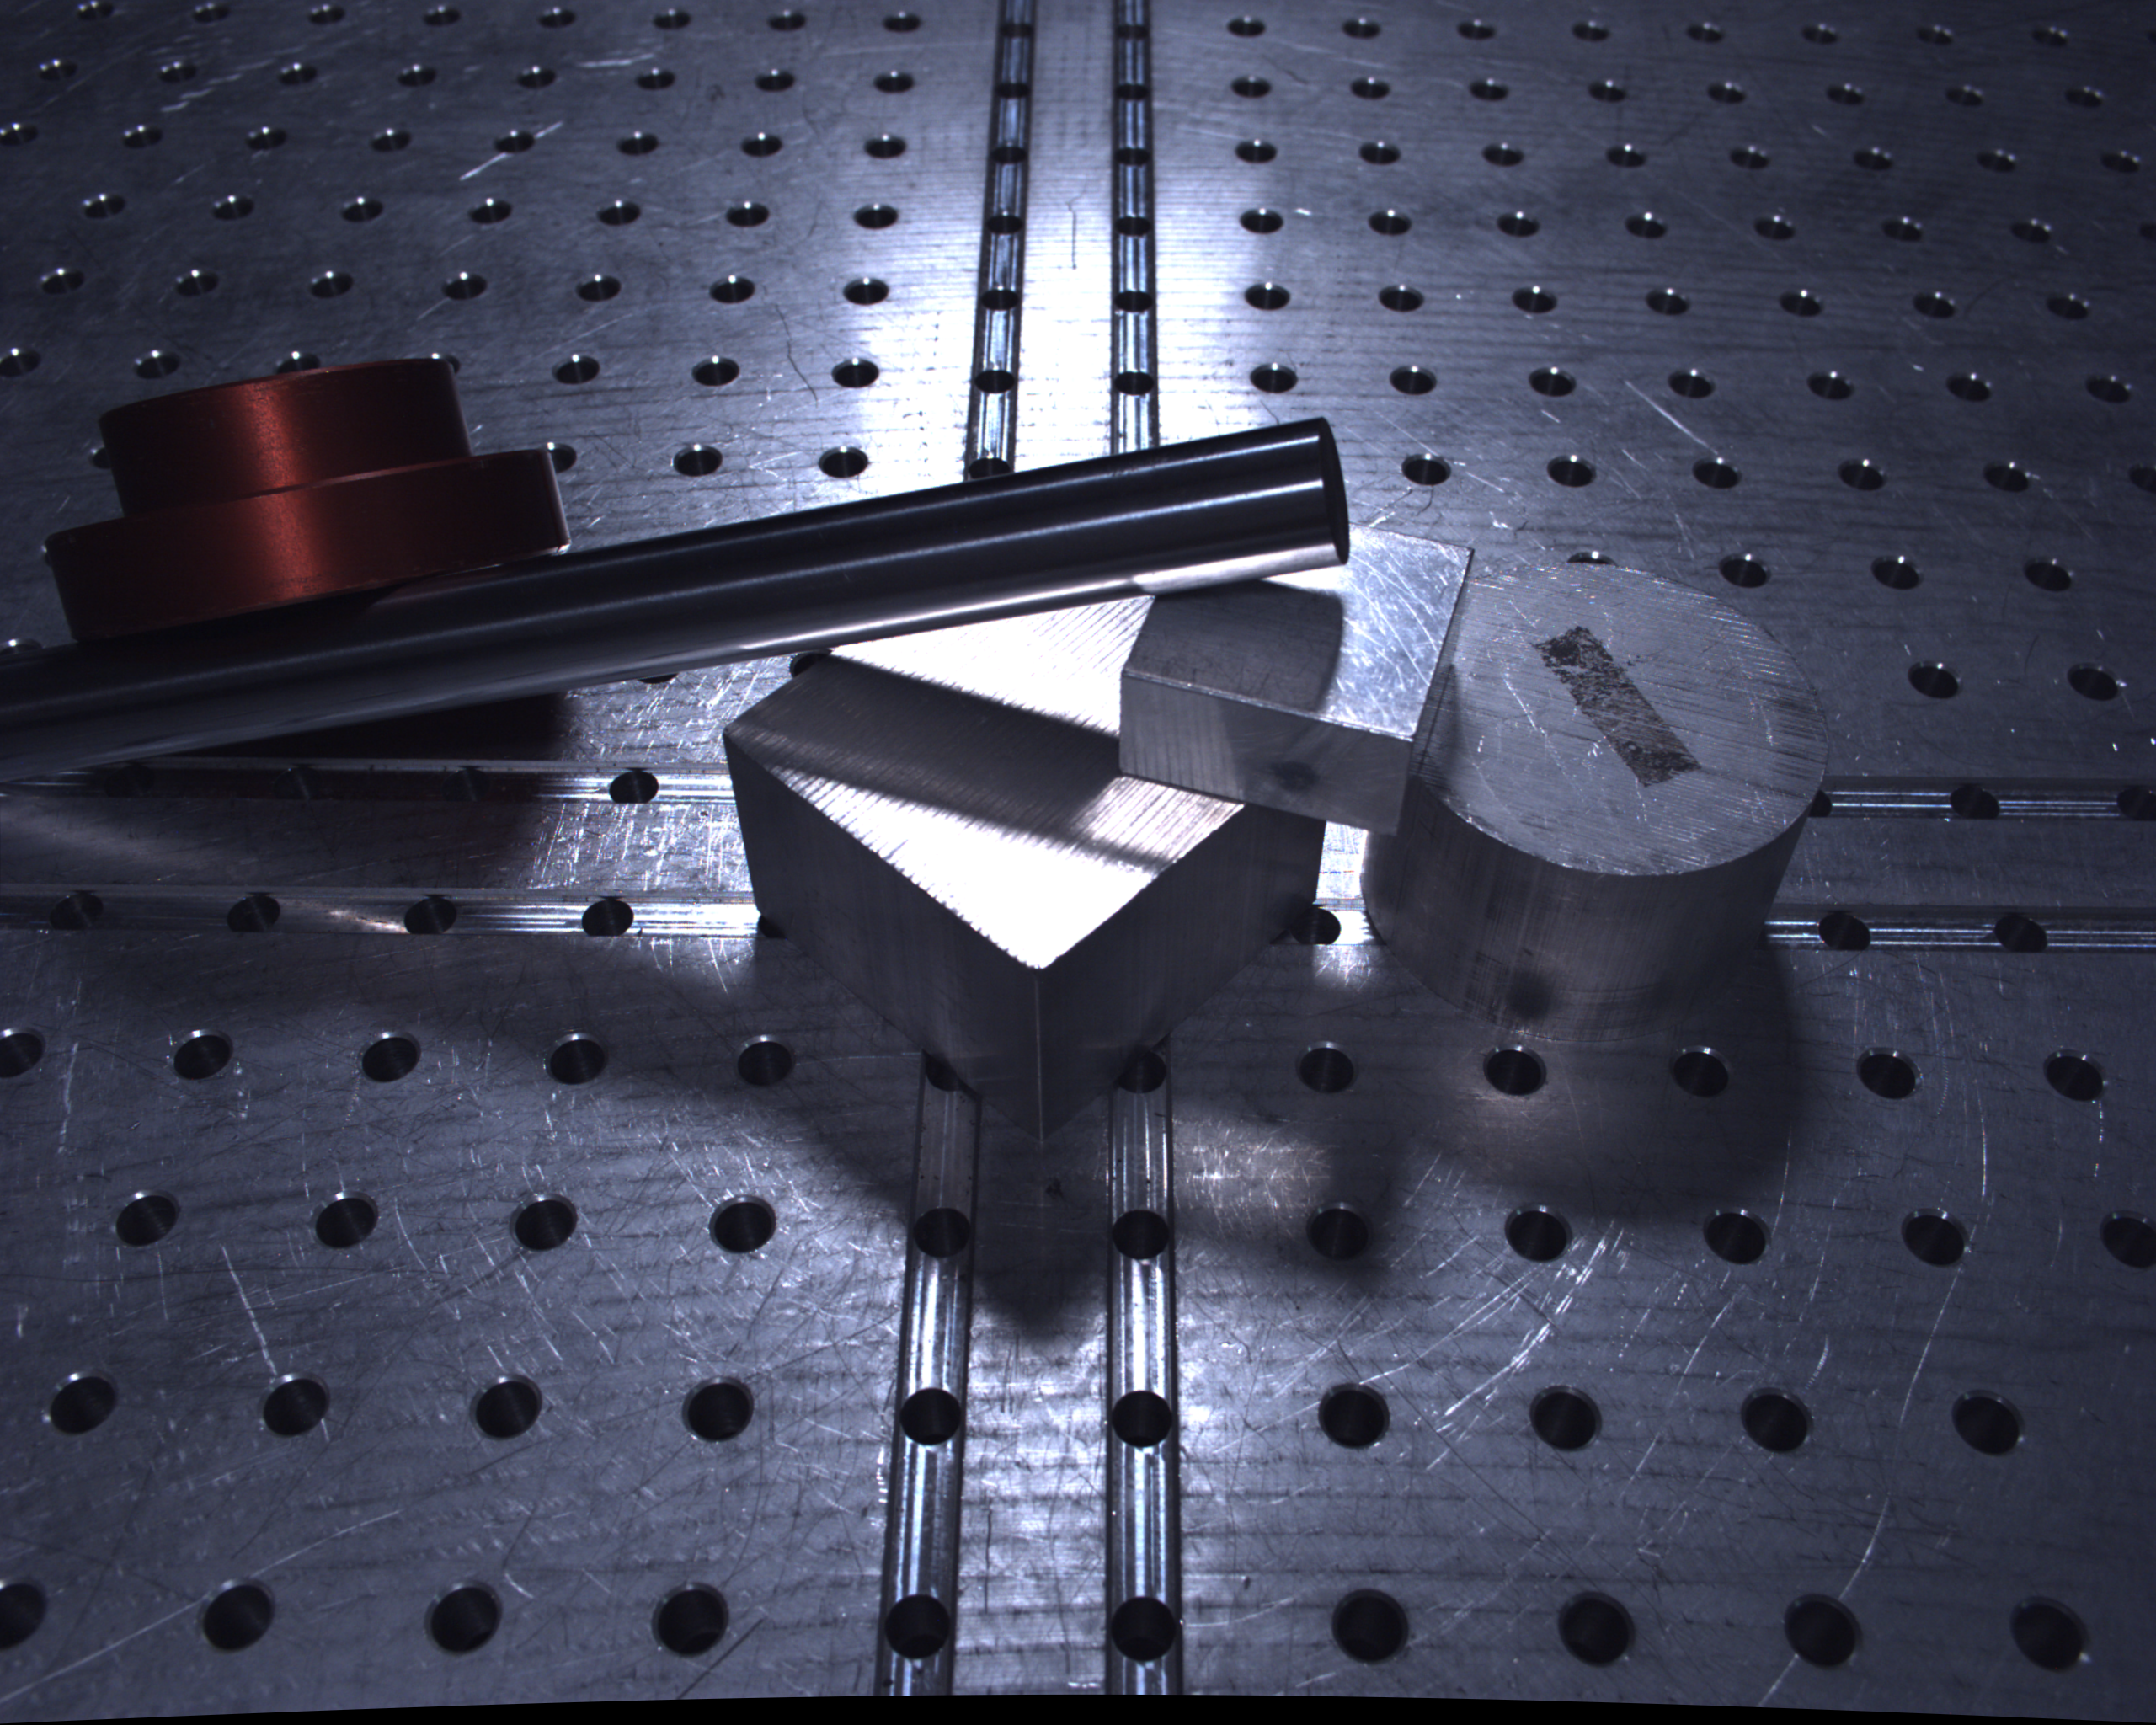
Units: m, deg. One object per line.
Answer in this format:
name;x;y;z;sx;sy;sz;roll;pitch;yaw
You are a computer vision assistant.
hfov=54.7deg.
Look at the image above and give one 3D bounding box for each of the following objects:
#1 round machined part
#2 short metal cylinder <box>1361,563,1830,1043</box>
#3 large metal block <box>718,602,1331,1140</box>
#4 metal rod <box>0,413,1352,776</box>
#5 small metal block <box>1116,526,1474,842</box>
round machined part;-0.157;-0.076;0.423;0.099;0.042;0.098;-10;12;2
short metal cylinder;0.097;-0.012;0.403;0.081;0.050;0.080;0;50;0
large metal block;-0.008;-0.009;0.396;0.080;0.050;0.080;36;58;26
metal rod;-0.101;-0.044;0.387;0.301;0.025;0.025;-7;48;16
small metal block;0.039;-0.036;0.370;0.050;0.025;0.050;15;51;11
